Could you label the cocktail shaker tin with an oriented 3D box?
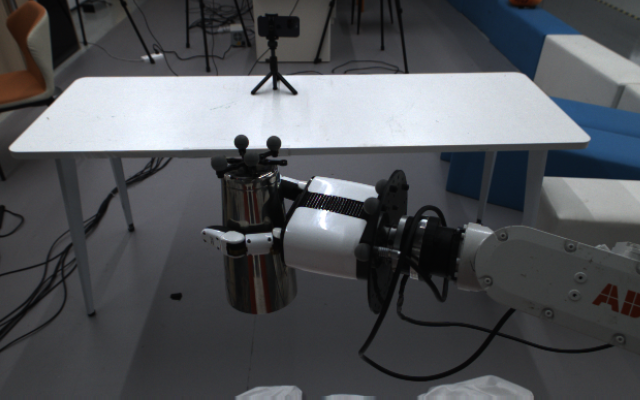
[{"bbox_3d":[-0.074,0.041,0.585,0.093,0.170,0.093,-2,26,1],"label":"cocktail shaker tin"}]
